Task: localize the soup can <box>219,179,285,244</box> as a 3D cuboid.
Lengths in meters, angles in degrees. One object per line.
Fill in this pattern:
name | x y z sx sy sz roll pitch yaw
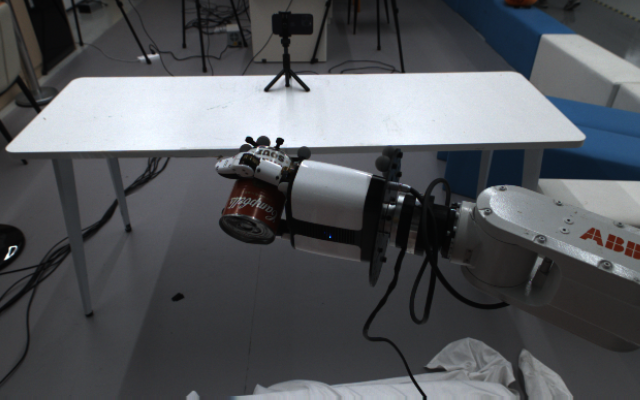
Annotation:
soup can | -0.072 -0.006 0.580 0.067 0.067 0.101 9 58 10
